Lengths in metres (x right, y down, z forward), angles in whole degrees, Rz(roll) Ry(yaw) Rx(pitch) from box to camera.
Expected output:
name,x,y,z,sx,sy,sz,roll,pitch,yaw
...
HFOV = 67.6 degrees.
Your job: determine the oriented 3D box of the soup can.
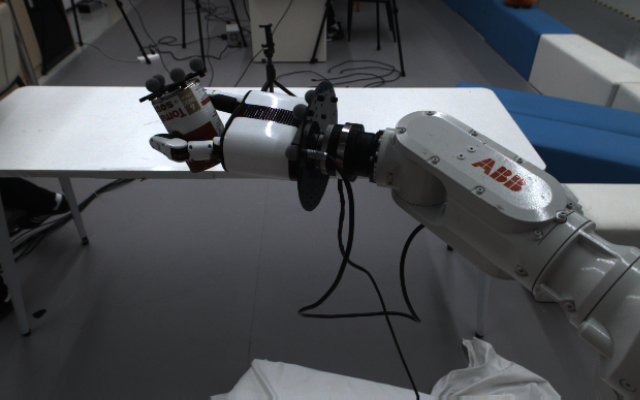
name,x,y,z,sx,sy,sz,roll,pitch,yaw
soup can,-0.159,-0.094,0.621,0.067,0.101,0.067,-21,24,10
